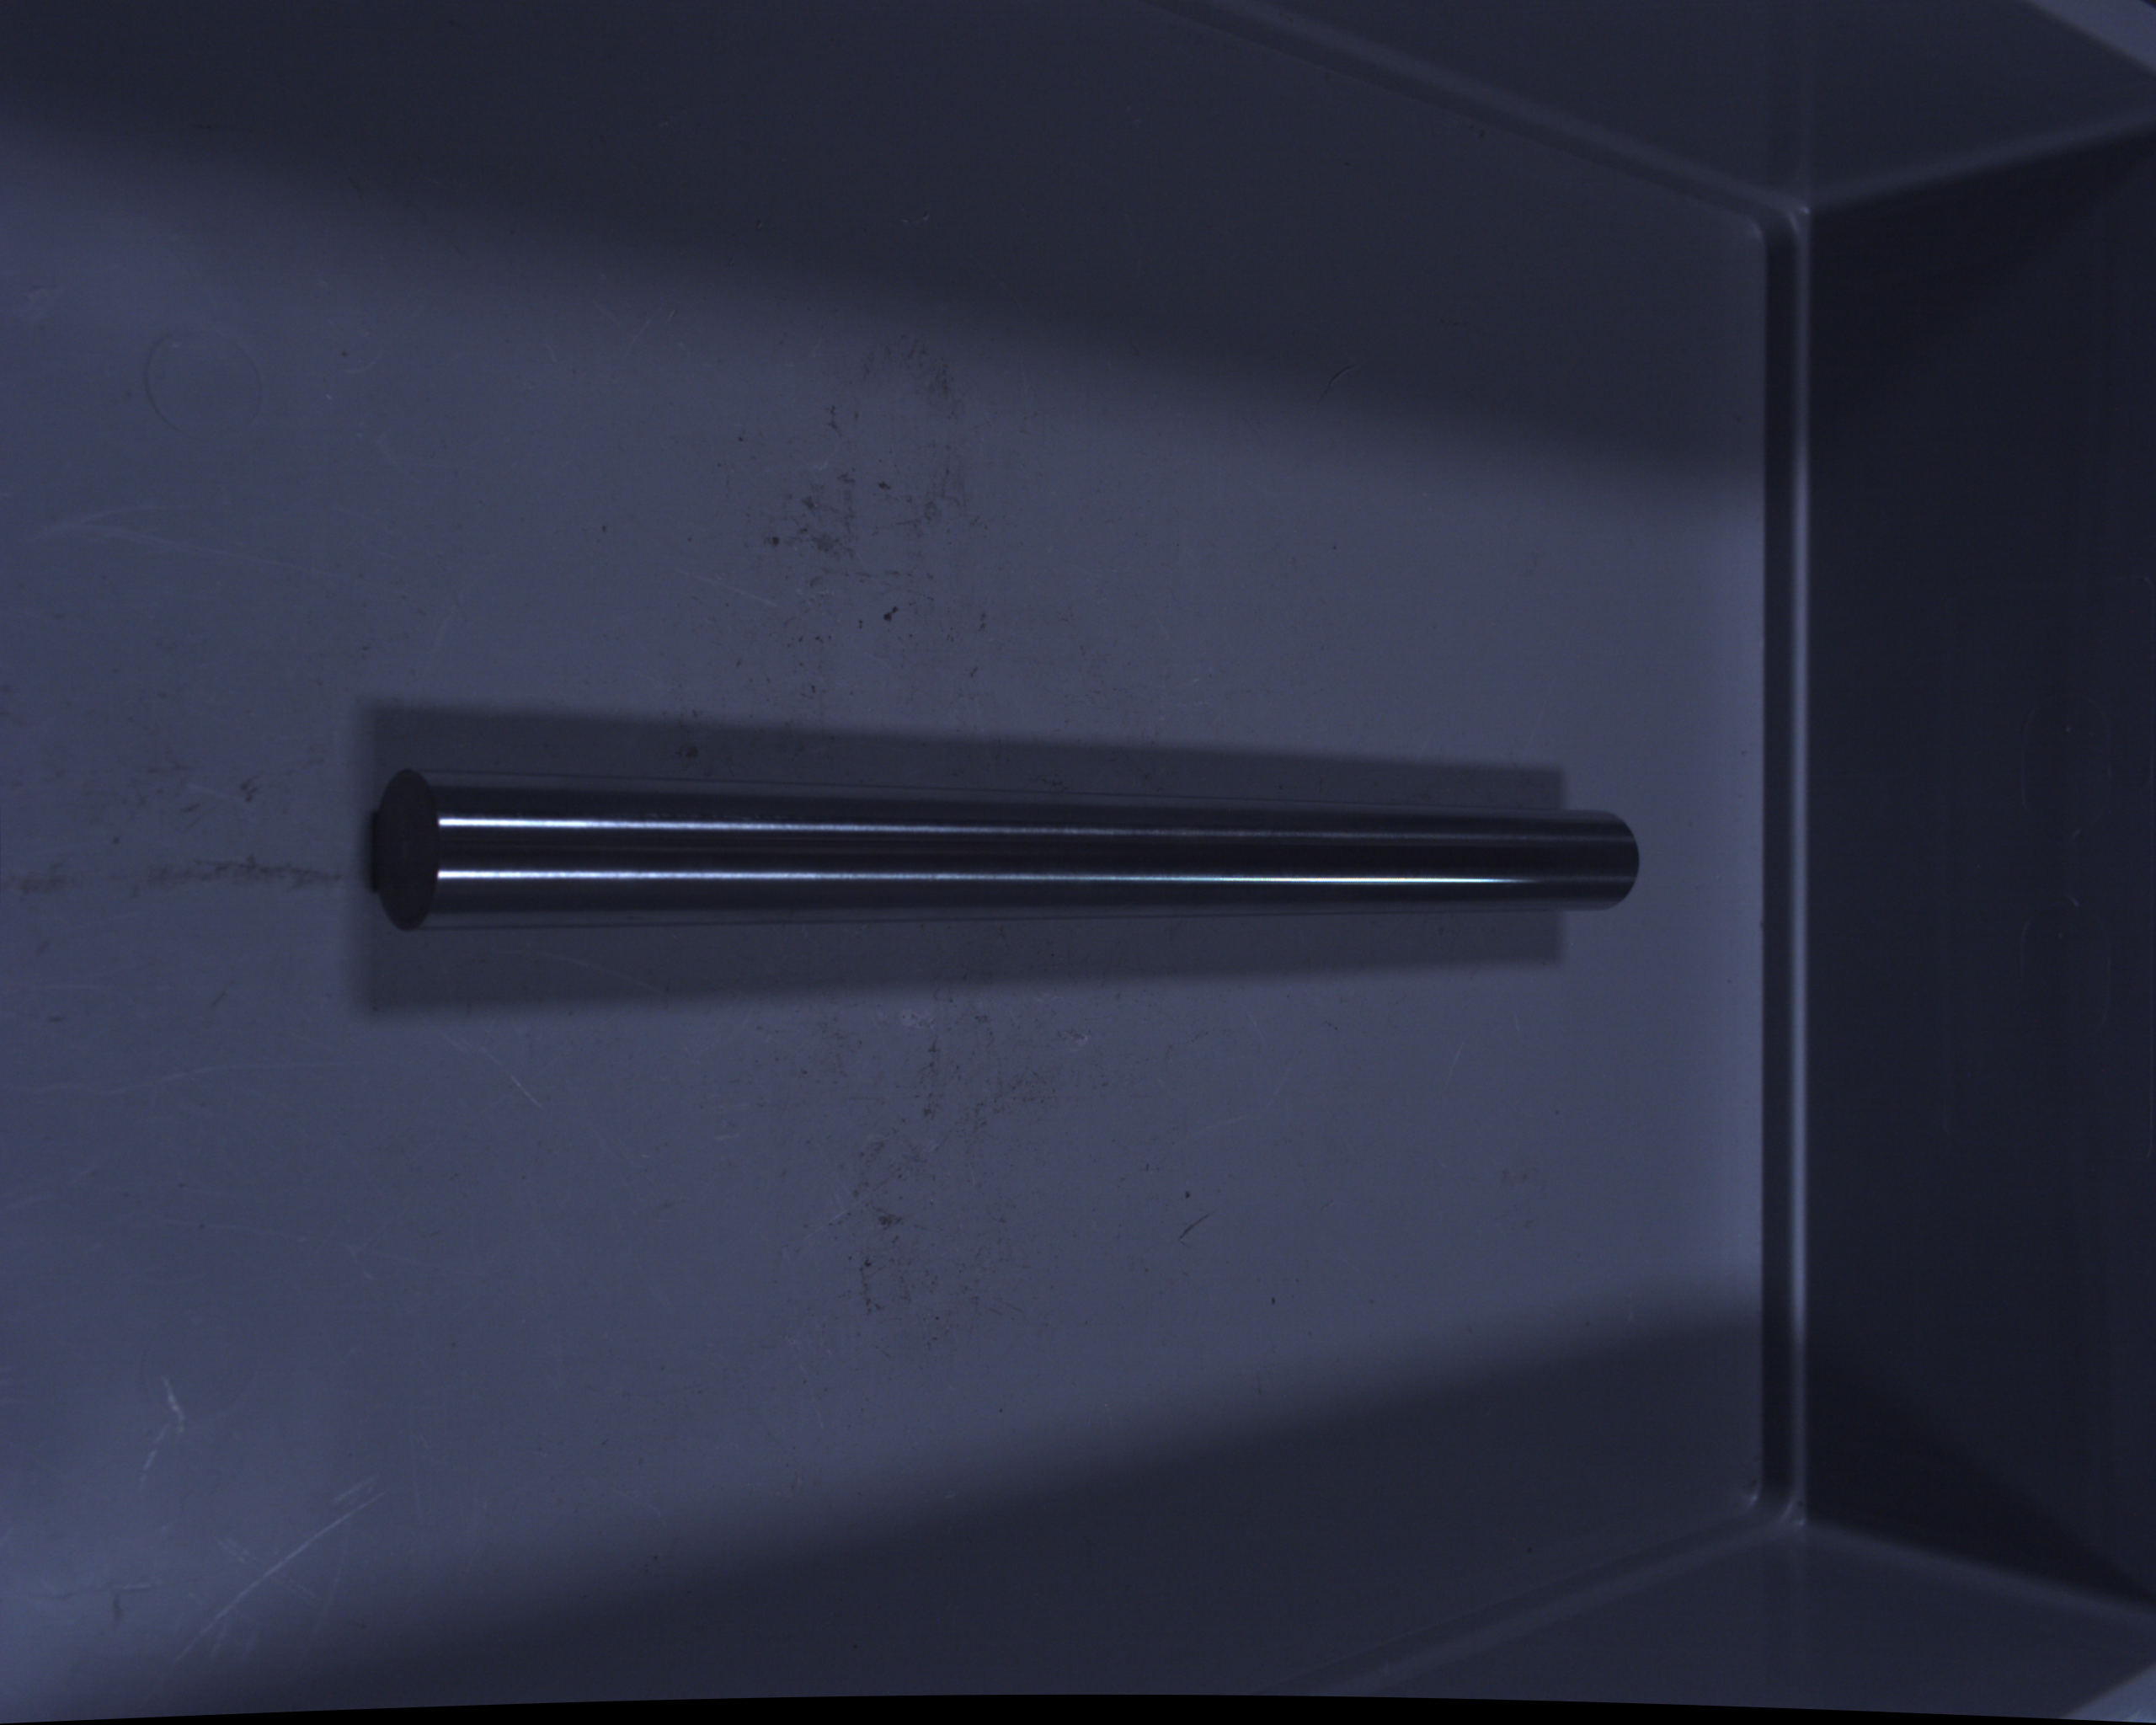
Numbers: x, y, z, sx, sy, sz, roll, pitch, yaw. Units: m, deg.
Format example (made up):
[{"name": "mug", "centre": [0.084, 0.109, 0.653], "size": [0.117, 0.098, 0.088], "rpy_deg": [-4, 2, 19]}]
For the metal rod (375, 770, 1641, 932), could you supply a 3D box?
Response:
[{"name": "metal rod", "centre": [0.013, -0.001, 0.417], "size": [0.302, 0.025, 0.025], "rpy_deg": [0, 90, -40]}]
